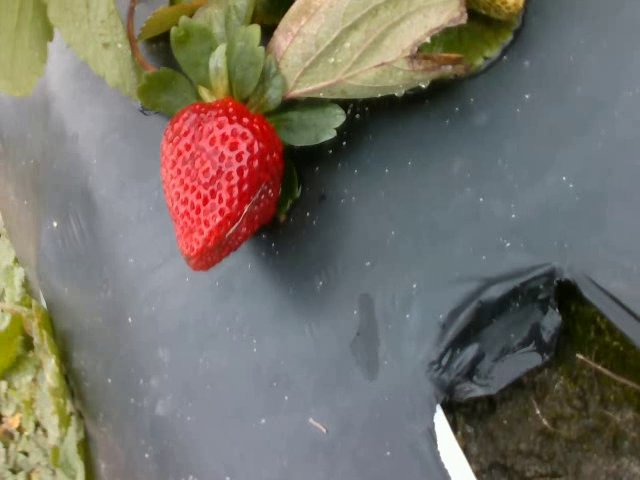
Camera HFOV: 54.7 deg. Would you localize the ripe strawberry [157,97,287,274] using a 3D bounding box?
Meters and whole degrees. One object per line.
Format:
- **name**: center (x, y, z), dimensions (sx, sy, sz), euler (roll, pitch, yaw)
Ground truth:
- **ripe strawberry**: center (-0.034, -0.016, 0.194), dimensions (0.048, 0.064, 0.046), euler (13, -33, 2)
